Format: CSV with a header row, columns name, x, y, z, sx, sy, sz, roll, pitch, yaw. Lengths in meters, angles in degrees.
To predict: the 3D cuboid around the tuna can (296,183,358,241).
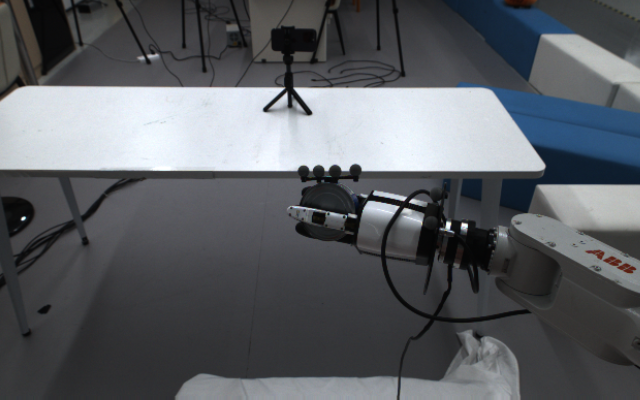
name,x,y,z,sx,sy,sz,roll,pitch,yaw
tuna can,0.016,0.015,0.709,0.085,0.085,0.034,15,10,18
